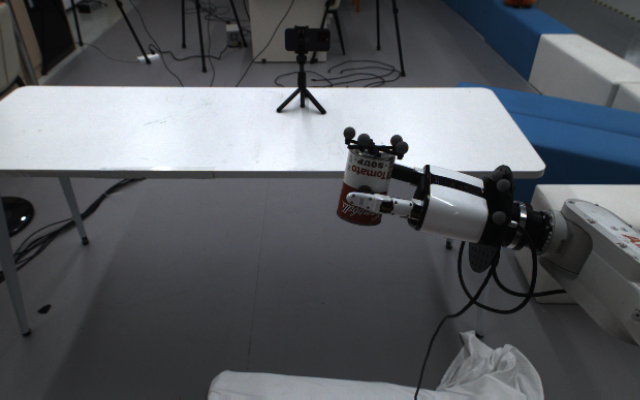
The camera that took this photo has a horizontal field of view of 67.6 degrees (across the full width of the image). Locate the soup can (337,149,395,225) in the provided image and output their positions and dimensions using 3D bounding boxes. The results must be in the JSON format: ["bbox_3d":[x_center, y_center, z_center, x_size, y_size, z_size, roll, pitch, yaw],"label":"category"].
[{"bbox_3d":[0.067,-0.024,0.696,0.067,0.101,0.067,9,20,-3],"label":"soup can"}]
